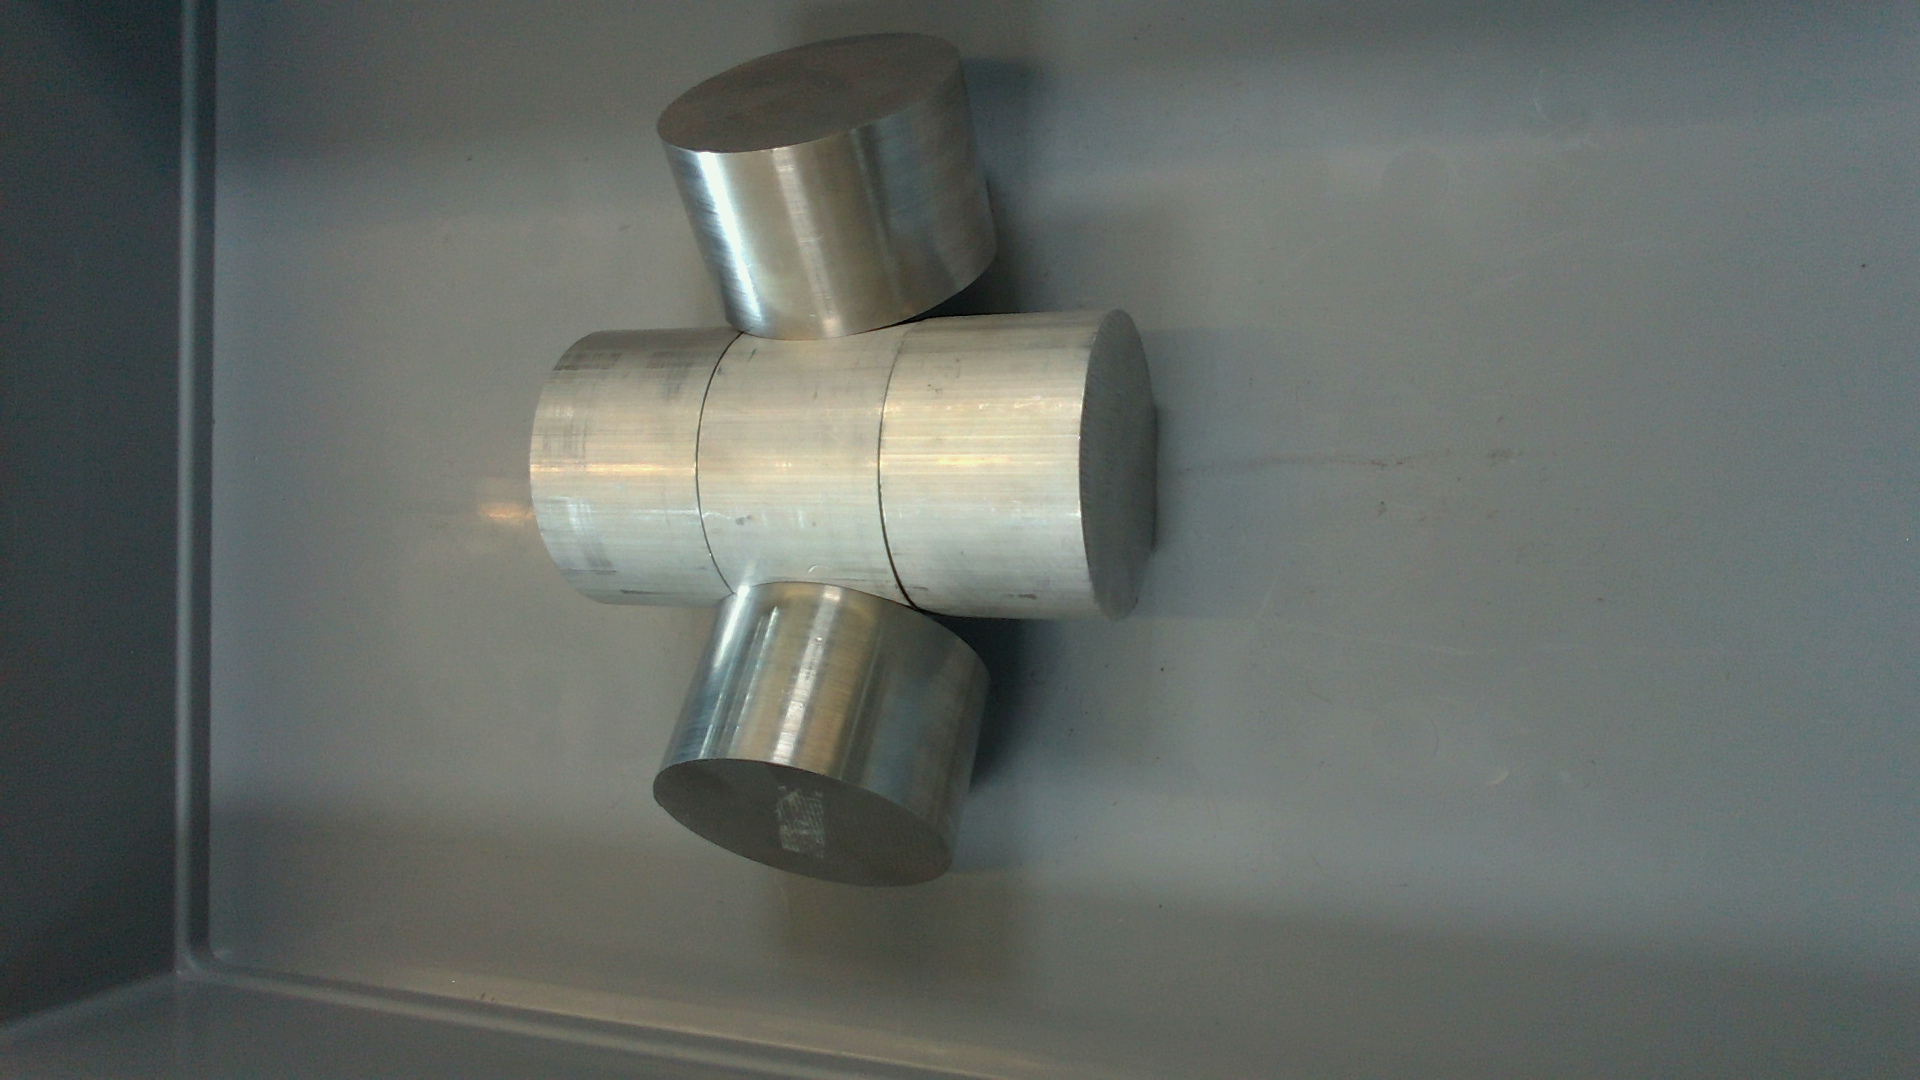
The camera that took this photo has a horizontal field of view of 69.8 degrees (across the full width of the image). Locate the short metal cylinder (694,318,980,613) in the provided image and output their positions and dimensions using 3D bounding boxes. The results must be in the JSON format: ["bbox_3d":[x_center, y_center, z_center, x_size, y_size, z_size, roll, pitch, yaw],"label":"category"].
[{"bbox_3d":[-0.029,-0.020,0.376,0.050,0.080,0.080,1,91,20],"label":"short metal cylinder"}]

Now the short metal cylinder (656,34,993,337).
[{"bbox_3d":[-0.035,-0.097,0.370,0.080,0.080,0.050,2,129,20],"label":"short metal cylinder"}]

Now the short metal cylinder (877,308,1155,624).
[{"bbox_3d":[0.018,-0.019,0.359,0.050,0.080,0.080,1,91,20],"label":"short metal cylinder"}]

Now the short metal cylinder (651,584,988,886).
[{"bbox_3d":[-0.036,0.054,0.371,0.080,0.080,0.050,0,56,20],"label":"short metal cylinder"}]

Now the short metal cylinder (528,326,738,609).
[{"bbox_3d":[-0.077,-0.021,0.393,0.050,0.080,0.080,1,91,20],"label":"short metal cylinder"}]
